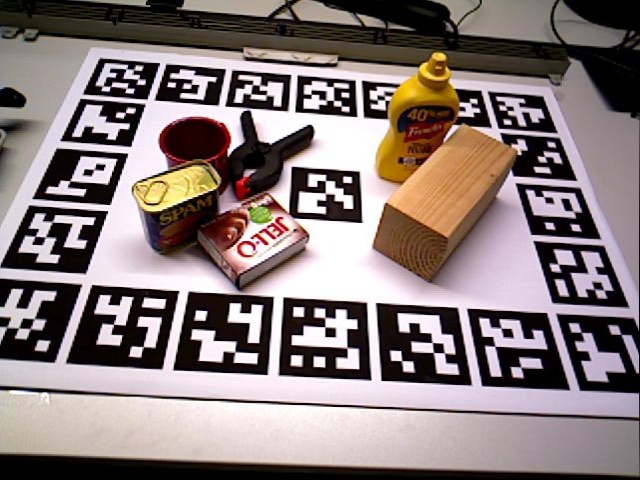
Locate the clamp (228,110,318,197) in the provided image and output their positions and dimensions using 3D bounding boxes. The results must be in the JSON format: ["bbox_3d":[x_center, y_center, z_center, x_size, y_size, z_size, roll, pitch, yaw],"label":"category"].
[{"bbox_3d":[-0.084,-0.127,0.775,0.121,0.037,0.162,20,55,7],"label":"clamp"}]

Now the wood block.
[{"bbox_3d":[0.172,-0.047,0.706,0.090,0.093,0.201,33,54,20],"label":"wood block"}]

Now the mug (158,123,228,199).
[{"bbox_3d":[-0.165,-0.104,0.742,0.093,0.083,0.115,22,55,10],"label":"mug"}]

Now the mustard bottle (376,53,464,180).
[{"bbox_3d":[0.137,-0.165,0.721,0.095,0.196,0.057,0,53,-7],"label":"mustard bottle"}]

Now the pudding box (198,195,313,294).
[{"bbox_3d":[-0.079,0.002,0.670,0.111,0.039,0.090,-30,62,-28],"label":"pudding box"}]

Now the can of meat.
[{"bbox_3d":[-0.173,-0.039,0.655,0.100,0.085,0.057,-22,59,-22],"label":"can of meat"}]
